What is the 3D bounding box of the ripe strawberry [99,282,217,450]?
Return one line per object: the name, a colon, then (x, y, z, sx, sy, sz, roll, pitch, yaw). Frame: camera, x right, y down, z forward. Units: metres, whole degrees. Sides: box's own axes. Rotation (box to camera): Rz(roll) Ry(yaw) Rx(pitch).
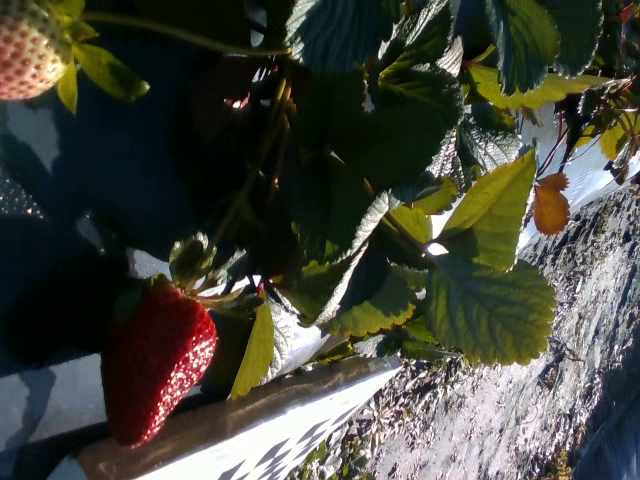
ripe strawberry: (-0.061, 0.042, 0.205, 0.058, 0.062, 0.066, -4, -26, -7)
